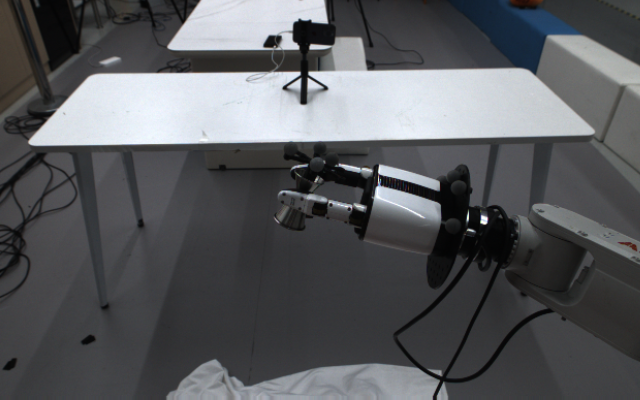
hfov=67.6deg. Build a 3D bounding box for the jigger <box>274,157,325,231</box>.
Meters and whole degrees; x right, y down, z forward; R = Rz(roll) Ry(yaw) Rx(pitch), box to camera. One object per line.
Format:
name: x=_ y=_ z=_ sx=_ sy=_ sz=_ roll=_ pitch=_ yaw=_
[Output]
jigger: x=-0.027 y=-0.001 z=0.607 sx=0.043 sy=0.071 sz=0.043 roll=23 pitch=19 yaw=-8
